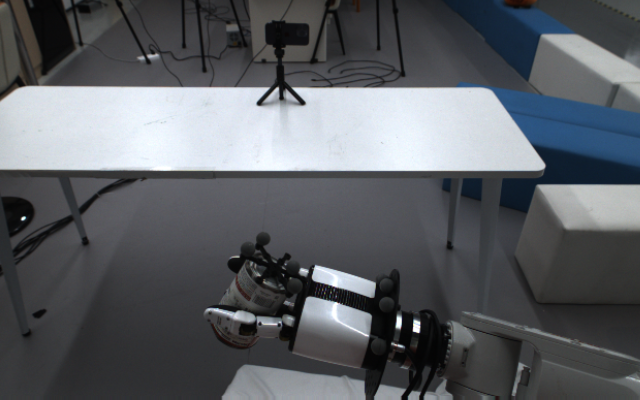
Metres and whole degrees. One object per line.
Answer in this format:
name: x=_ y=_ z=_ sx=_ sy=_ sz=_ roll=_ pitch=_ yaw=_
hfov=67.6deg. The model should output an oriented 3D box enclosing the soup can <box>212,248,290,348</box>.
soup can: x=-0.081 y=0.124 z=0.595 sx=0.067 sy=0.101 sz=0.067 roll=28 pitch=22 yaw=-12
